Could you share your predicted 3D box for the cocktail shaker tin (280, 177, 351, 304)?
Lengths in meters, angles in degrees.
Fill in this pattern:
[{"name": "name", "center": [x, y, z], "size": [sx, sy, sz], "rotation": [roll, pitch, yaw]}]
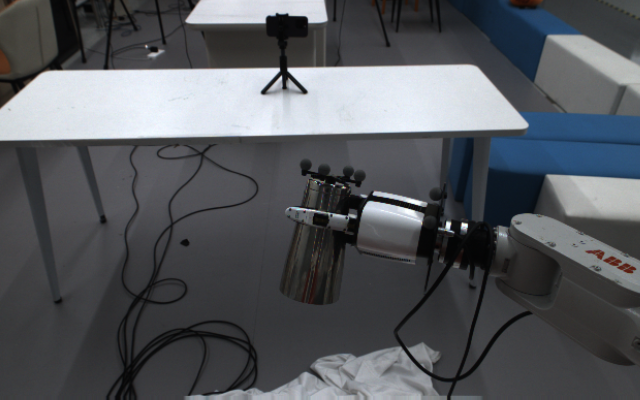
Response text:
[{"name": "cocktail shaker tin", "center": [0.002, 0.054, 0.717], "size": [0.093, 0.170, 0.093], "rotation": [10, 9, -2]}]
